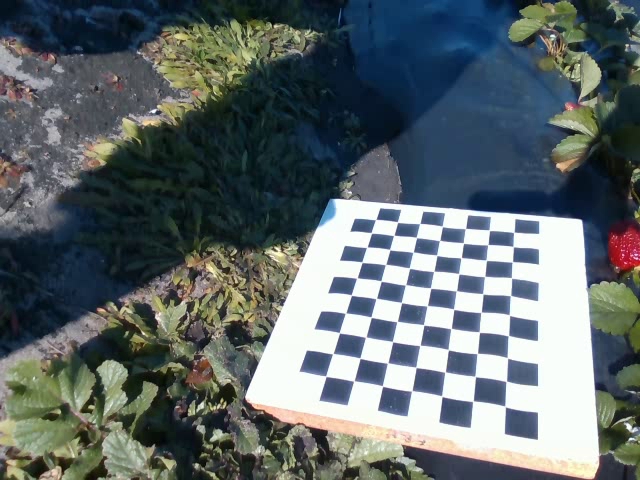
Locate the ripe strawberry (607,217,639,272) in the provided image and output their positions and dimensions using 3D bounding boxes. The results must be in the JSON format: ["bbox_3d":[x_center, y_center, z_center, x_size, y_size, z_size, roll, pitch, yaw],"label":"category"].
[{"bbox_3d":[0.306,0.004,0.617,0.065,0.062,0.058,-27,16,-20],"label":"ripe strawberry"}]
